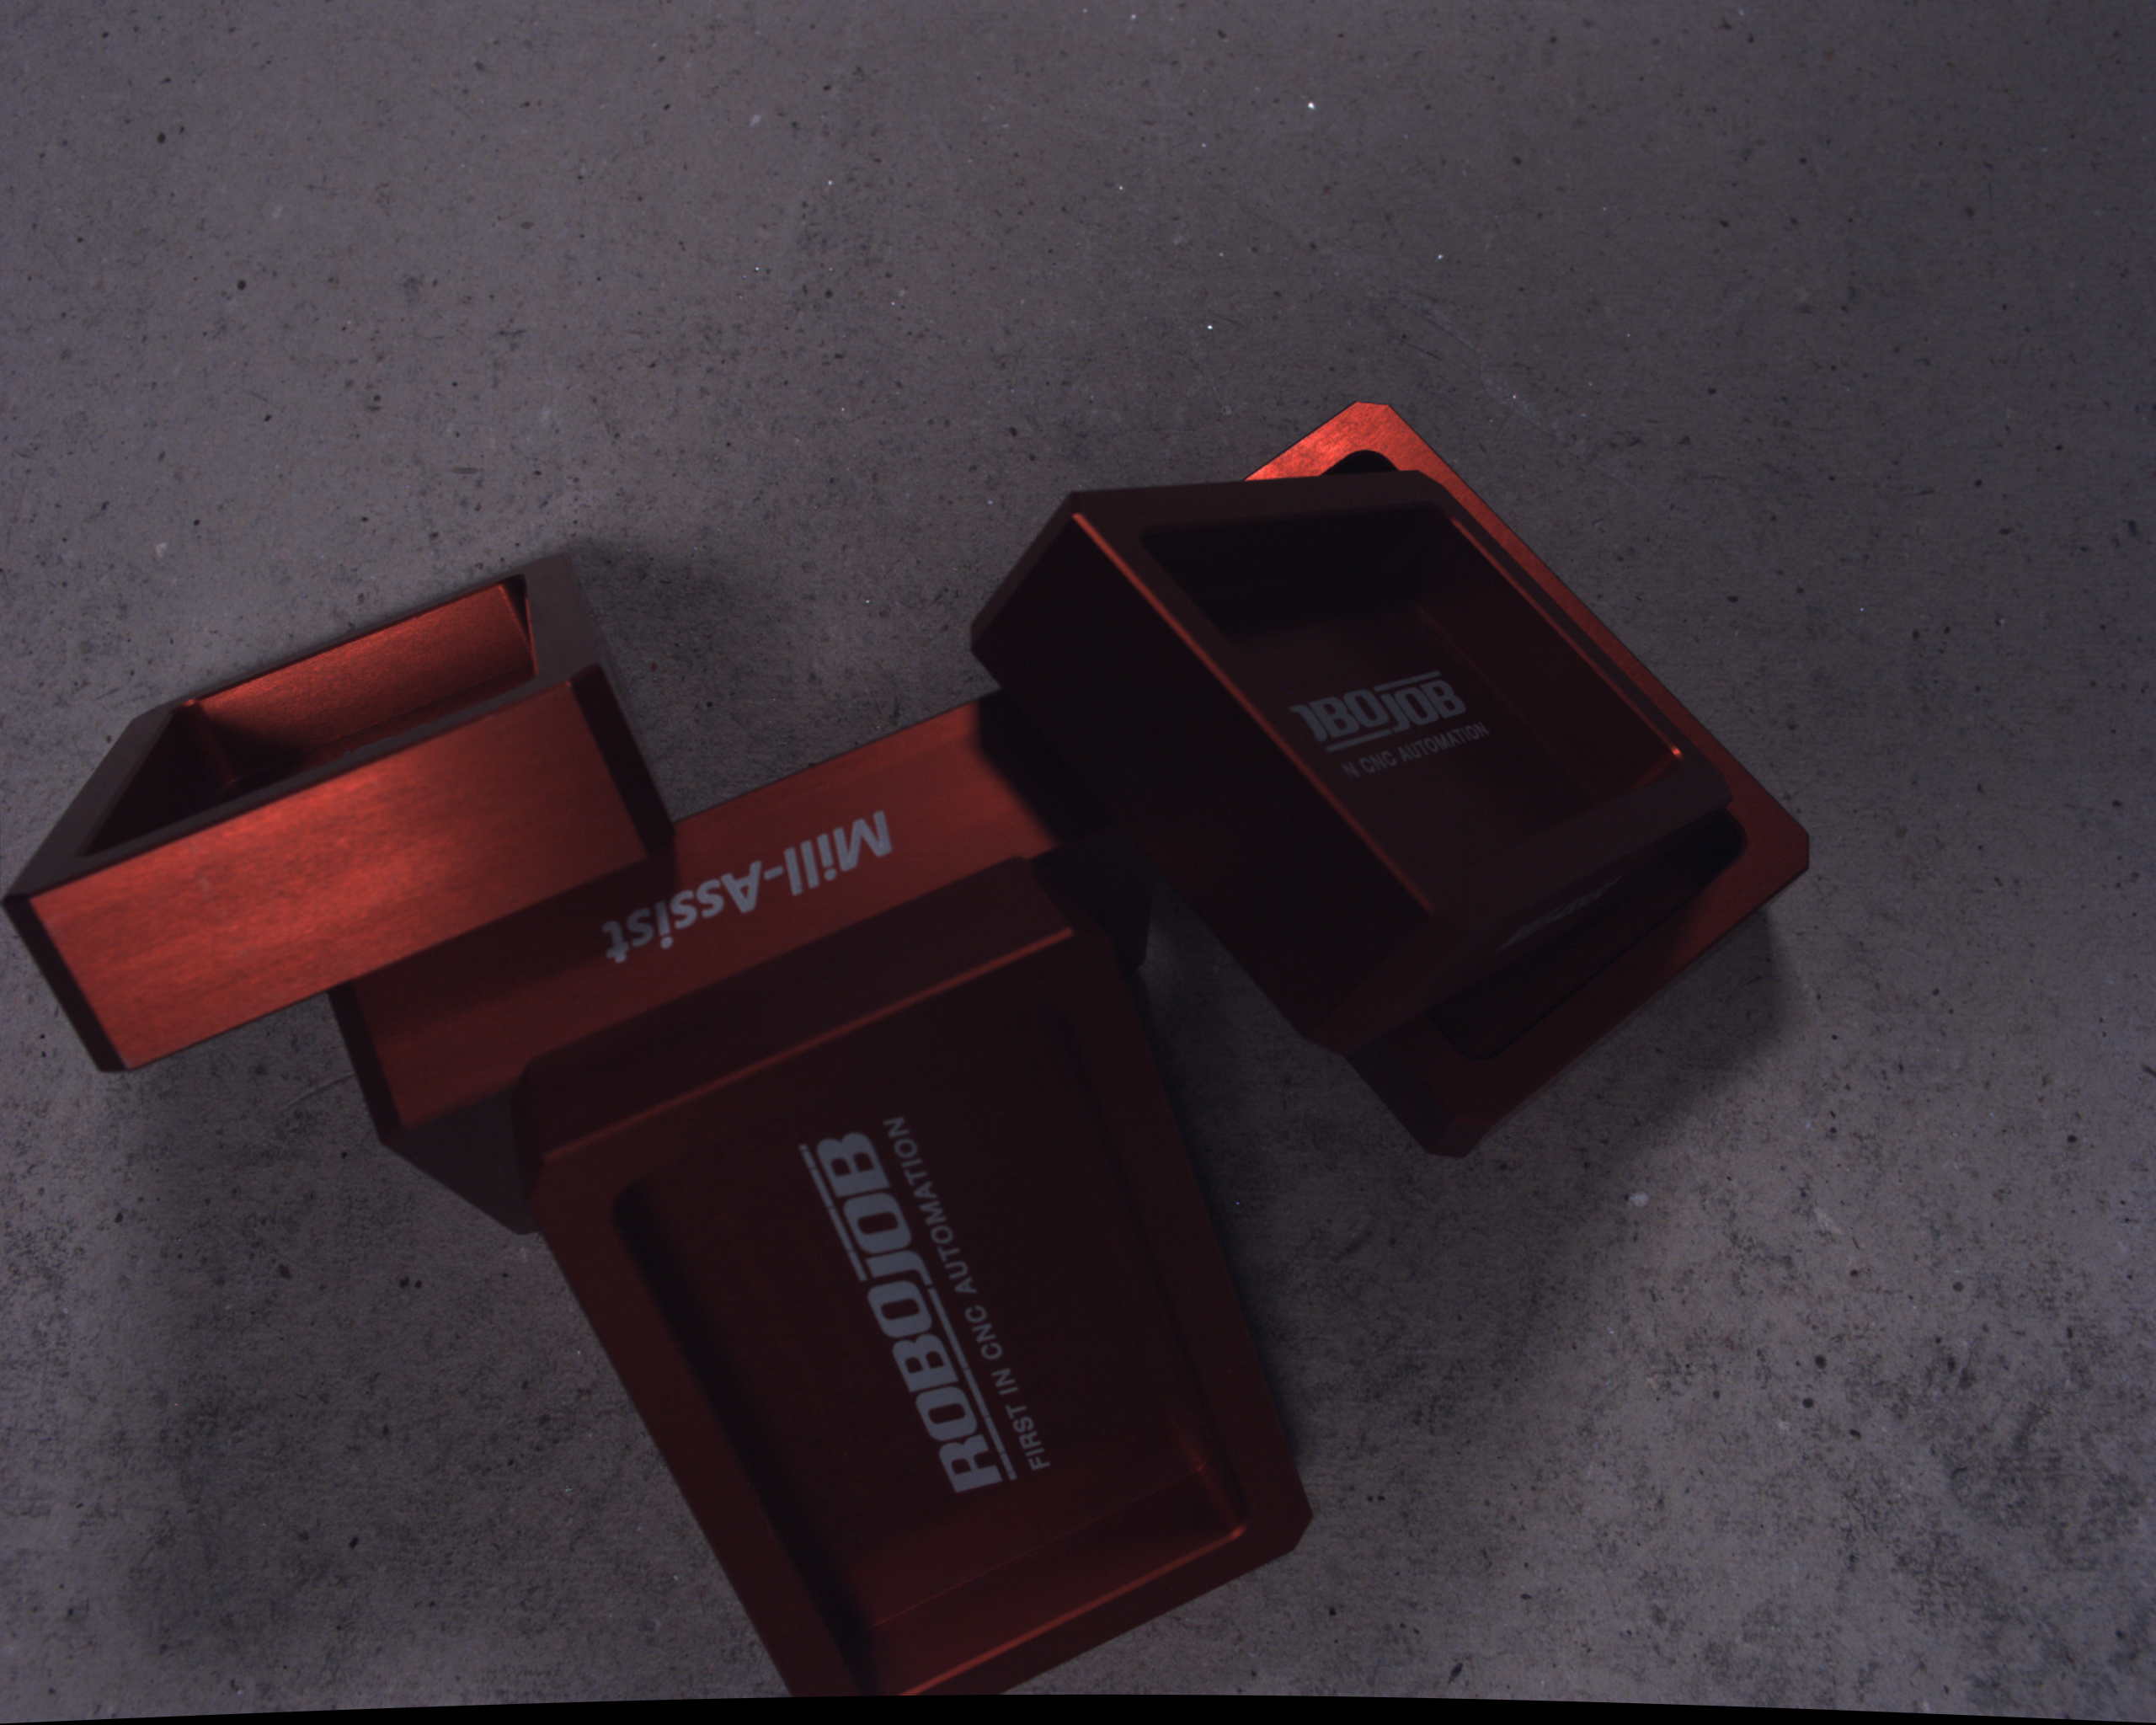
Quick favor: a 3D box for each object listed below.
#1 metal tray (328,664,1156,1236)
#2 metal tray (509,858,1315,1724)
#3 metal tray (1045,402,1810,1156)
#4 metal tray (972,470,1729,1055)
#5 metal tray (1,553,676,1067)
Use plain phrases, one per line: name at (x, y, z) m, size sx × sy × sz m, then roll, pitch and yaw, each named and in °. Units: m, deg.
metal tray at (-0.052, 0.019, 0.367) m, size 0.131 × 0.090 × 0.030 m, roll -23°, pitch 72°, yaw -9°
metal tray at (-0.023, 0.074, 0.335) m, size 0.091 × 0.030 × 0.129 m, roll -23°, pitch 117°, yaw -8°
metal tray at (0.066, -0.019, 0.414) m, size 0.090 × 0.030 × 0.130 m, roll -37°, pitch 74°, yaw -13°
metal tray at (0.053, -0.025, 0.360) m, size 0.090 × 0.030 × 0.131 m, roll 50°, pitch 33°, yaw 15°
metal tray at (-0.123, -0.016, 0.363) m, size 0.091 × 0.130 × 0.030 m, roll -23°, pitch 111°, yaw -9°
